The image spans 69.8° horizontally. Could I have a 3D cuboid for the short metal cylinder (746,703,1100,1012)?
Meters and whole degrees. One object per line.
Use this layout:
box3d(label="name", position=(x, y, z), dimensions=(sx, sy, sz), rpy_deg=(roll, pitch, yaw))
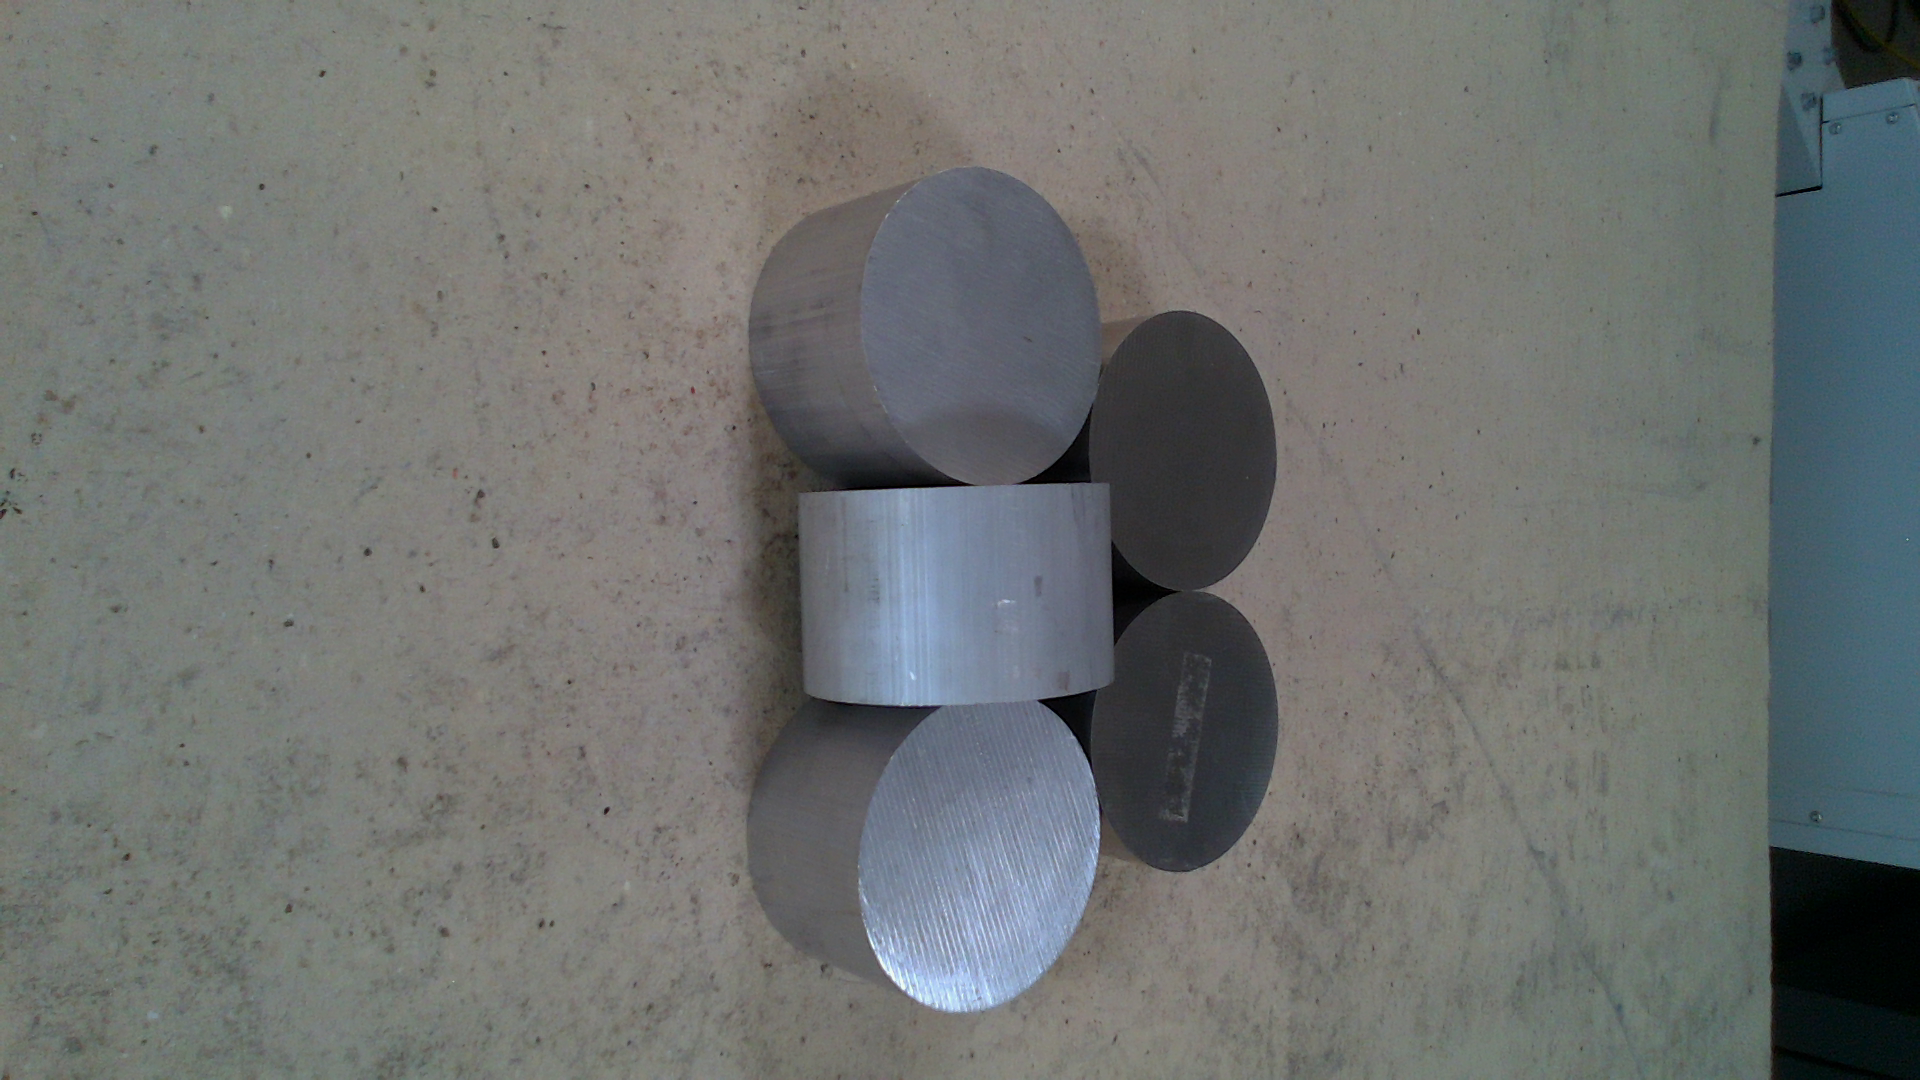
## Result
box3d(label="short metal cylinder", position=(-0.009, 0.078, 0.365), dimensions=(0.080, 0.050, 0.080), rpy_deg=(0, 90, -39))

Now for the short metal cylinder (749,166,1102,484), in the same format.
box3d(label="short metal cylinder", position=(-0.008, -0.054, 0.366), dimensions=(0.080, 0.050, 0.080), rpy_deg=(0, 90, -39))

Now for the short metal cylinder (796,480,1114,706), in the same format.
box3d(label="short metal cylinder", position=(-0.001, 0.011, 0.352), dimensions=(0.080, 0.080, 0.050), rpy_deg=(-4, 93, -40))

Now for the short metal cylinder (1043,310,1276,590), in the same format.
box3d(label="short metal cylinder", position=(0.050, -0.026, 0.413), dimensions=(0.080, 0.050, 0.080), rpy_deg=(-1, 91, -40))

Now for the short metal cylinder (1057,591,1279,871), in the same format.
box3d(label="short metal cylinder", position=(0.051, 0.055, 0.414), dimensions=(0.080, 0.050, 0.080), rpy_deg=(-1, 91, -39))
